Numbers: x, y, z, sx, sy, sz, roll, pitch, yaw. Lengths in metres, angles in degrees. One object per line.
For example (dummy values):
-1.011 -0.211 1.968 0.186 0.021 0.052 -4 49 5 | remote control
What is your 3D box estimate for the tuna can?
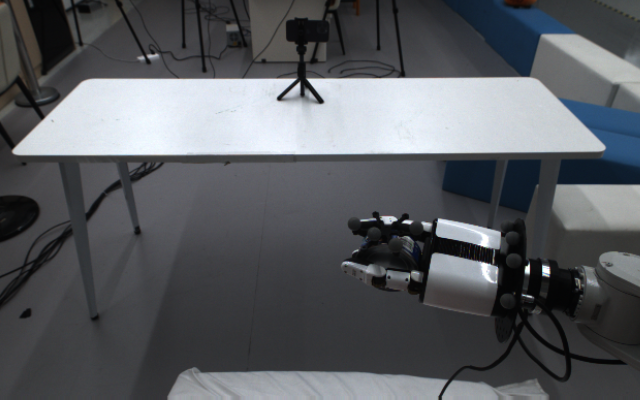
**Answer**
0.095 0.080 0.645 0.085 0.085 0.034 12 39 13 | tuna can
